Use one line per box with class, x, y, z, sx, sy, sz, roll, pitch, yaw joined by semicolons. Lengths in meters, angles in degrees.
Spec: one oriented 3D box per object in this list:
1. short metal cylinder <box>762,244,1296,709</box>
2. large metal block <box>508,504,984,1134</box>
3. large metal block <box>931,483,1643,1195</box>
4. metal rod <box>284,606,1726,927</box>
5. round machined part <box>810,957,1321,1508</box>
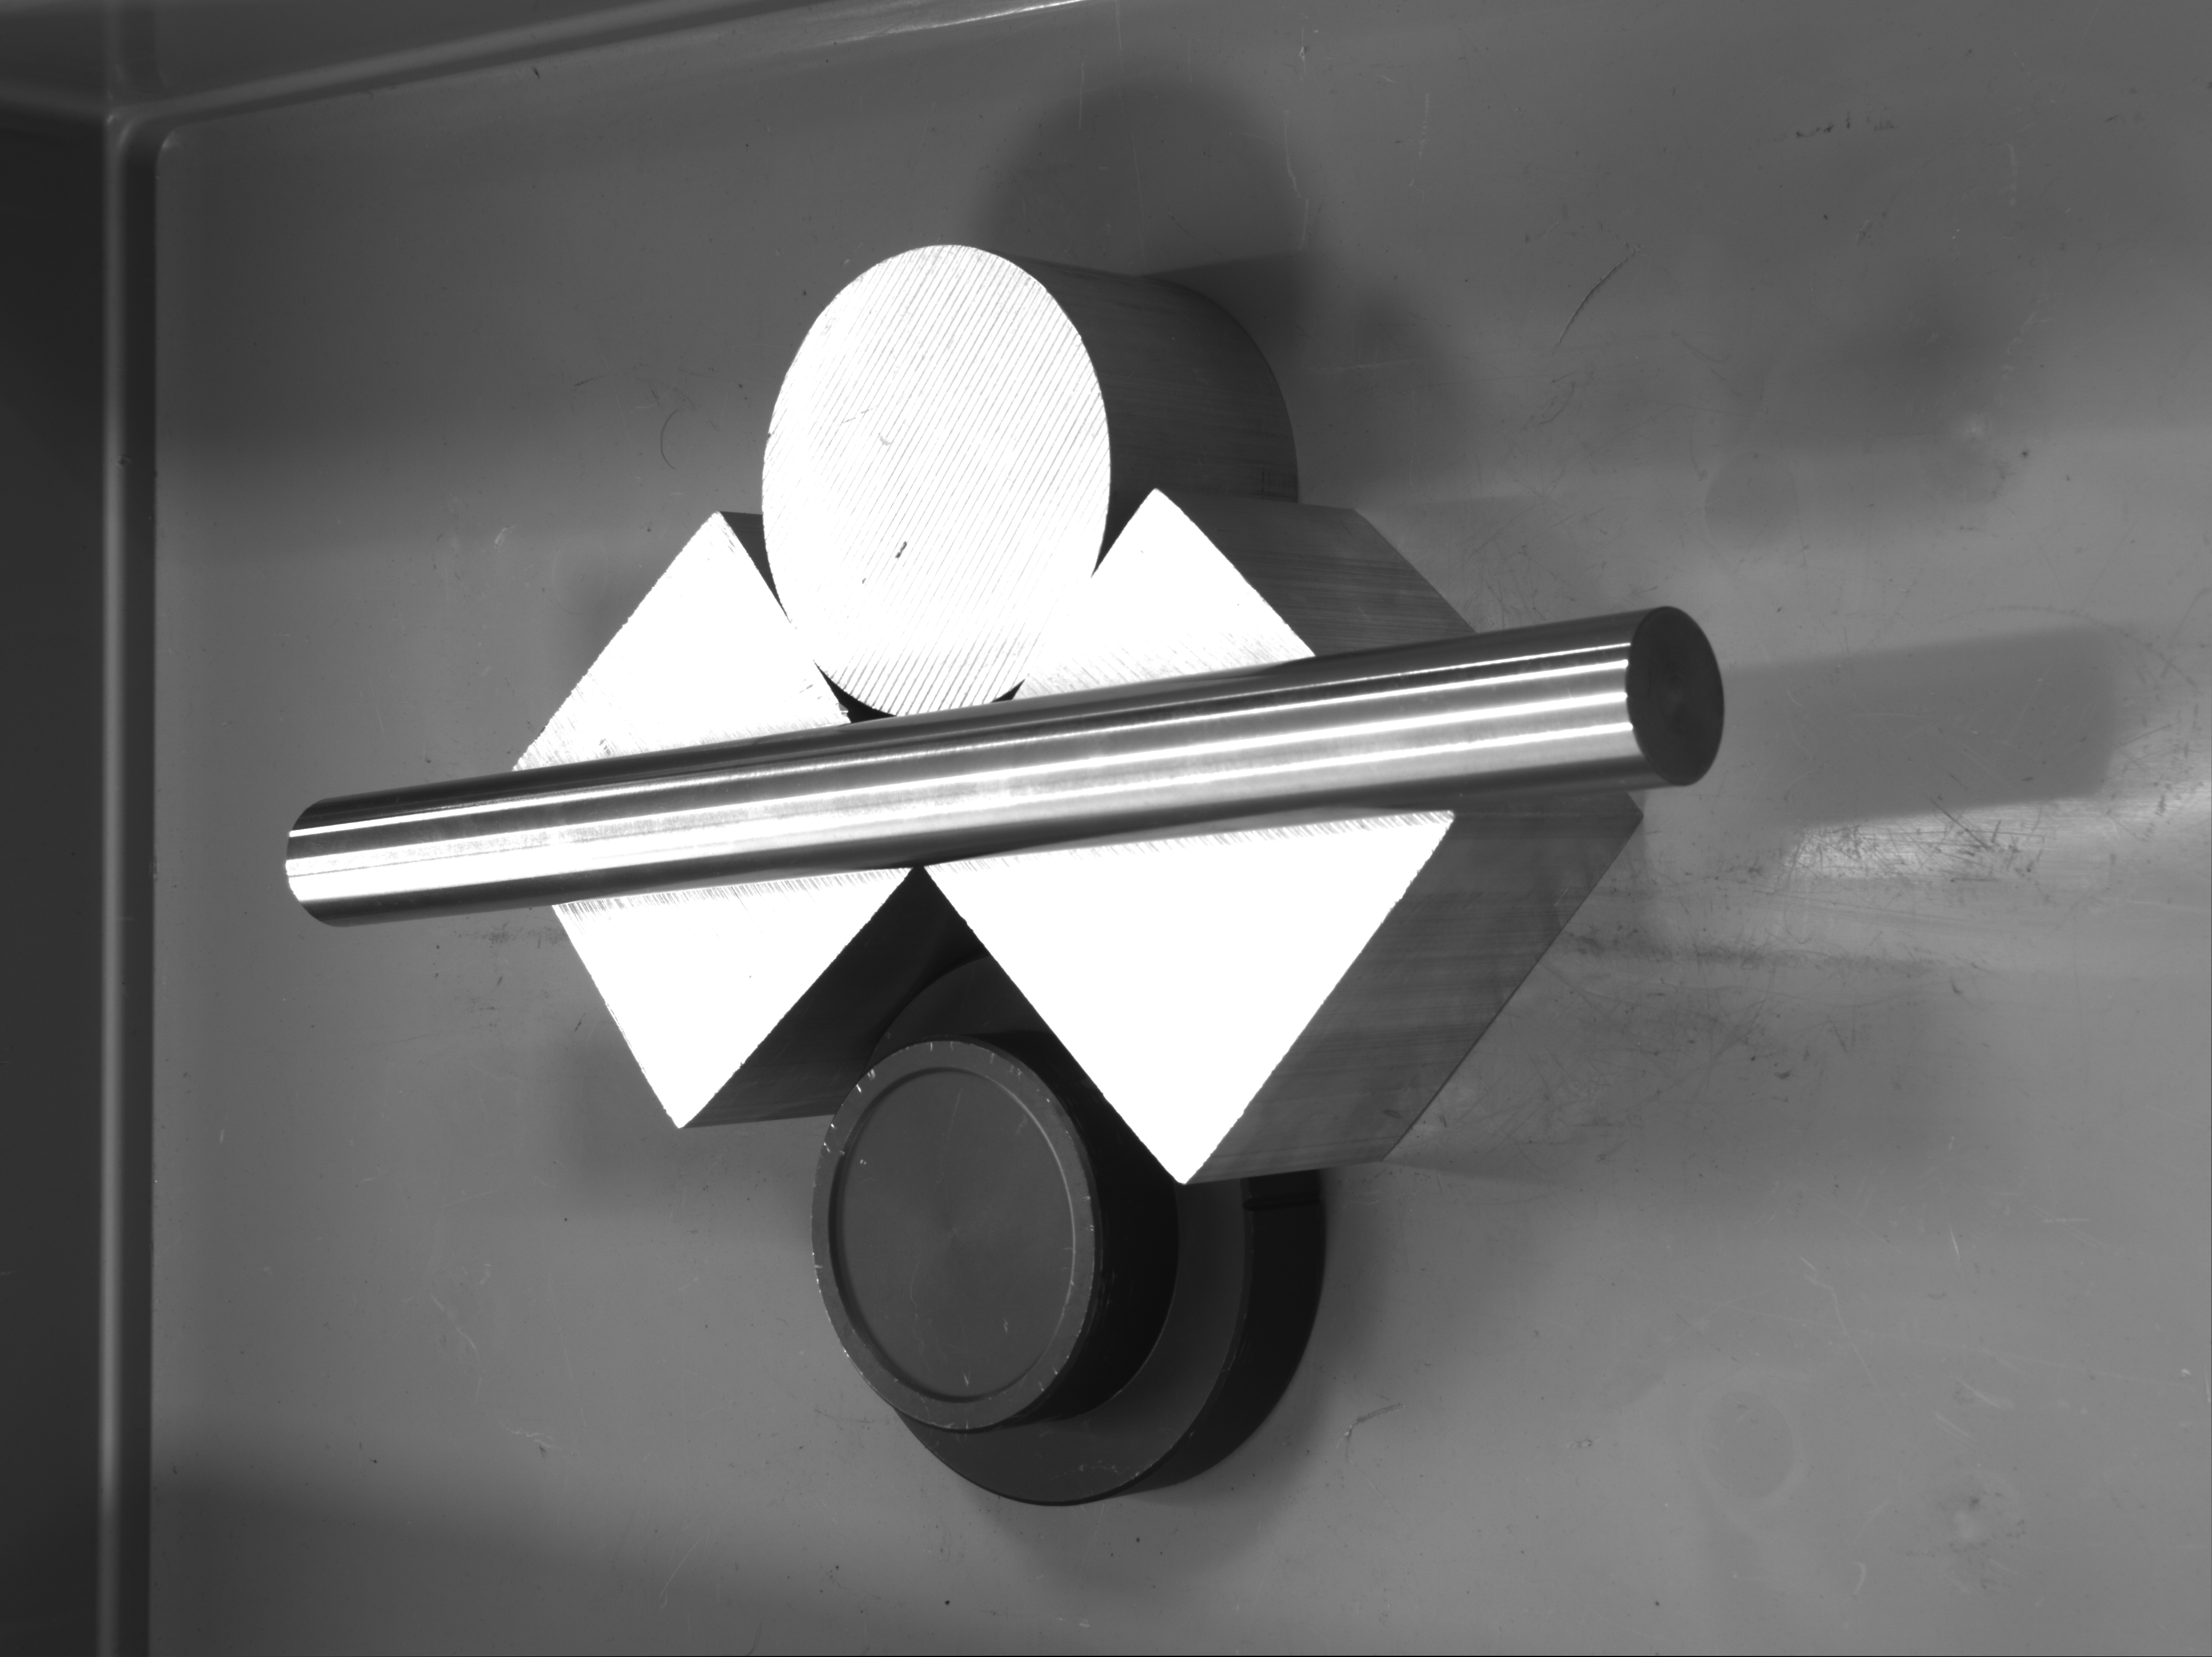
short metal cylinder;-0.014;-0.058;0.639;0.080;0.050;0.080;0;90;40
large metal block;-0.058;-0.002;0.676;0.080;0.050;0.080;-47;63;29
large metal block;0.026;0.001;0.602;0.080;0.050;0.080;50;120;29
metal rod;-0.034;-0.006;0.604;0.299;0.025;0.025;-6;86;41
round machined part;-0.014;0.070;0.644;0.098;0.042;0.098;0;90;40
